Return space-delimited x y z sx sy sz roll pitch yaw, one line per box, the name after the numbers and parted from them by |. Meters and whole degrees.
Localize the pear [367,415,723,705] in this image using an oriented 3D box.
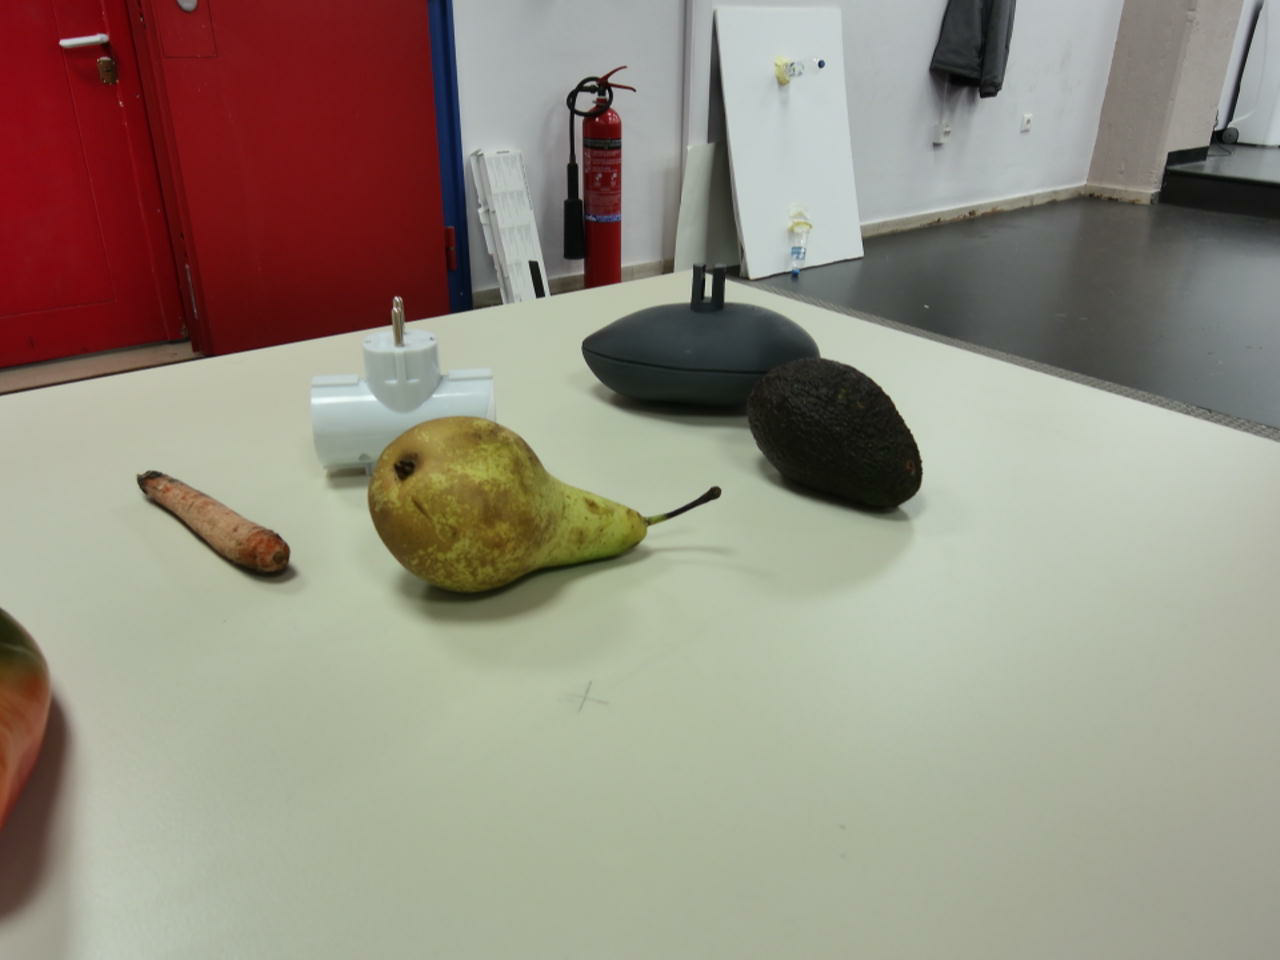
-0.044 0.003 0.427 0.144 0.075 0.071 -15 27 -29 | pear
